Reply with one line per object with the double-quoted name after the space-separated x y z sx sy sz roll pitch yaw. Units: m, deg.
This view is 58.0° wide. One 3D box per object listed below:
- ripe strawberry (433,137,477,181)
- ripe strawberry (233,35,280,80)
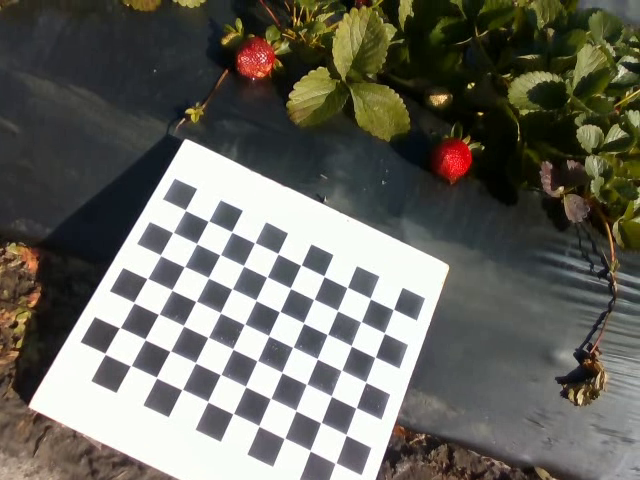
0.119 -0.072 0.526 0.043 0.042 0.050 -34 -7 26 "ripe strawberry"
-0.065 -0.167 0.533 0.041 0.043 0.053 37 28 -1 "ripe strawberry"
